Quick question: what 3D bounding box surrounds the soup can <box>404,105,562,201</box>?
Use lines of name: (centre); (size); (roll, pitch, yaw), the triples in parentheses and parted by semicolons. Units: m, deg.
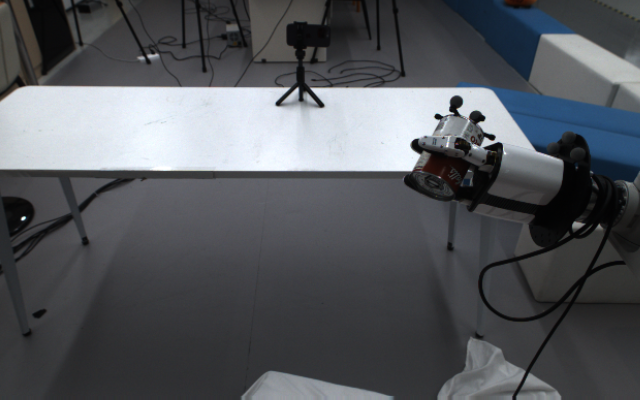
soup can: (0.176, -0.059, 0.666); (0.067, 0.067, 0.101); (22, 71, 26)
